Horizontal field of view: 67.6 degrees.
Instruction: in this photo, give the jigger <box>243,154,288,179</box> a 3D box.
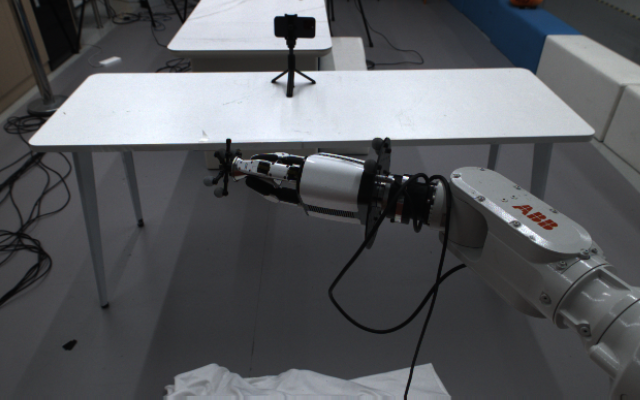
[{"bbox_3d":[-0.088,-0.048,0.727,0.071,0.043,0.043,7,35,15],"label":"jigger"}]
